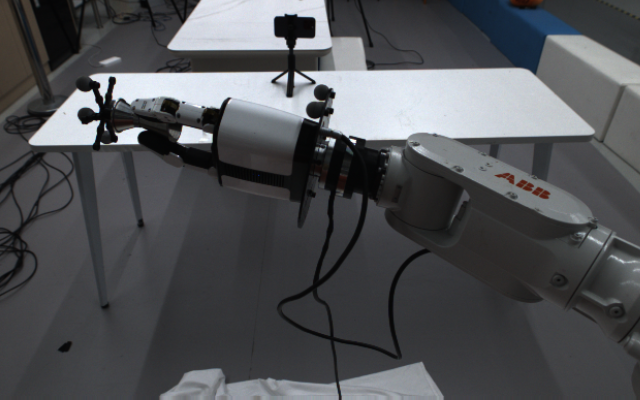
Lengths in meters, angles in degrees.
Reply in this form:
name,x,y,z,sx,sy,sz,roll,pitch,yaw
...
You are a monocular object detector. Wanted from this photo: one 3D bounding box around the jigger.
name,x,y,z,sx,sy,sz,roll,pitch,yaw
jigger,-0.195,-0.096,0.562,0.071,0.043,0.043,8,35,2
